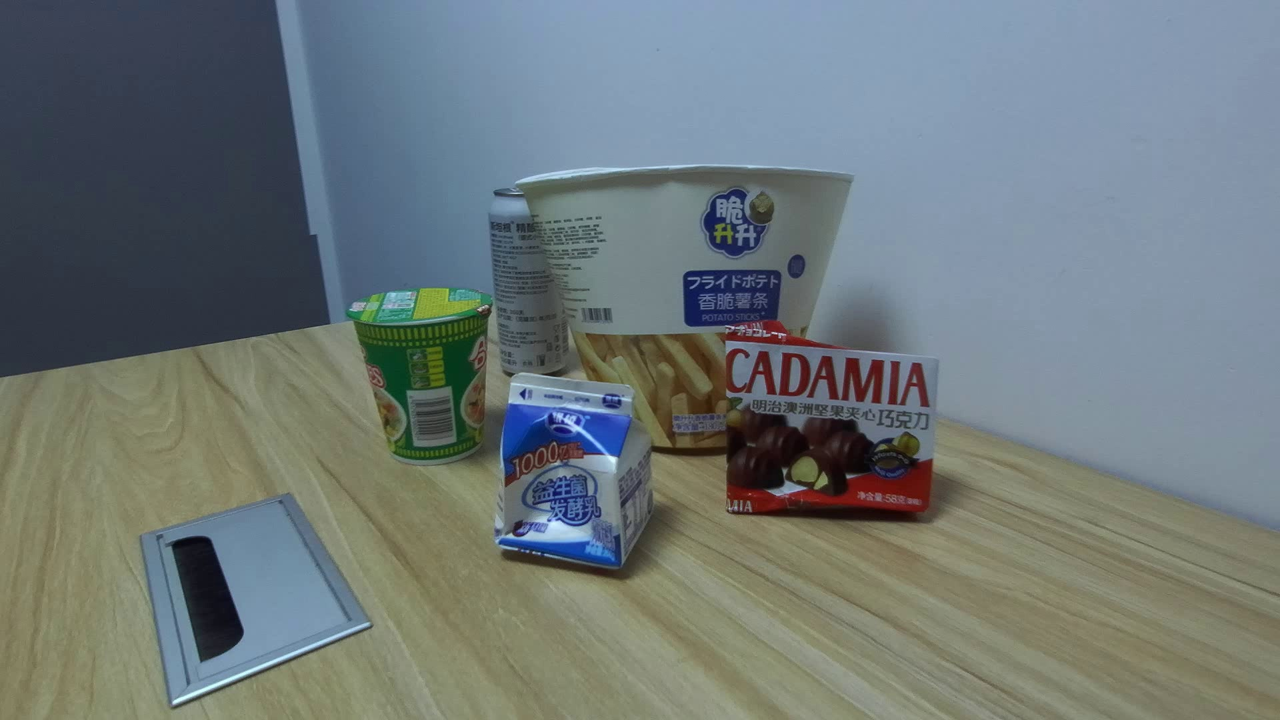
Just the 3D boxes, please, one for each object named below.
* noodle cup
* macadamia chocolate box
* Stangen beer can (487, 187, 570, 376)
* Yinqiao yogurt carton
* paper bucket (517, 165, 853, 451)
[{"bbox_3d":[-0.151,0.012,0.506,0.097,0.110,0.097,0,18,0],"label":"noodle cup"},{"bbox_3d":[0.114,0.035,0.432,0.126,0.112,0.056,2,19,6],"label":"macadamia chocolate box"},{"bbox_3d":[-0.101,-0.072,0.652,0.067,0.171,0.067,0,20,0],"label":"Stangen beer can"},{"bbox_3d":[-0.036,0.056,0.401,0.077,0.094,0.071,5,14,14],"label":"Yinqiao yogurt carton"},{"bbox_3d":[0.036,-0.047,0.539,0.219,0.199,0.147,-12,22,-31],"label":"paper bucket"}]
